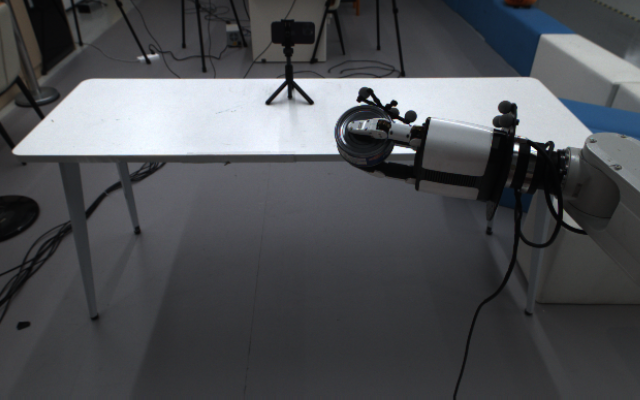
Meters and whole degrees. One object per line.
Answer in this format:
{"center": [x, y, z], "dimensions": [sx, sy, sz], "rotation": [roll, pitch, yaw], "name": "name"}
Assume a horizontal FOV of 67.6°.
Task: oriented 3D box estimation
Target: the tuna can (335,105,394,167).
{"center": [0.068, -0.086, 0.691], "dimensions": [0.085, 0.034, 0.085], "rotation": [-4, 69, 10], "name": "tuna can"}
